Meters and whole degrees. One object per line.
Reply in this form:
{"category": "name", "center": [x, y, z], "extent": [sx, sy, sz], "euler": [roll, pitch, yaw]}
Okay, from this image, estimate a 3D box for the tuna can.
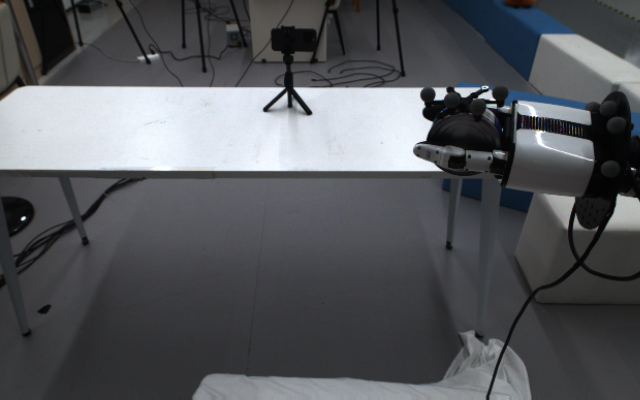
{"category": "tuna can", "center": [0.175, -0.076, 0.586], "extent": [0.085, 0.085, 0.034], "euler": [14, 41, 16]}
